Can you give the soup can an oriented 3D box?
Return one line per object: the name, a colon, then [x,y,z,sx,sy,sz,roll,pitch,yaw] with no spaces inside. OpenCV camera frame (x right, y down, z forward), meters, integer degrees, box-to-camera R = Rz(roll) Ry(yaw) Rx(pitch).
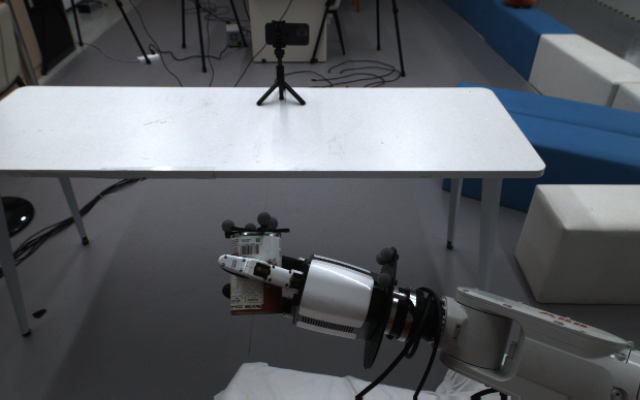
soup can: [-0.080,0.097,0.626,0.067,0.067,0.101,-1,77,-5]
